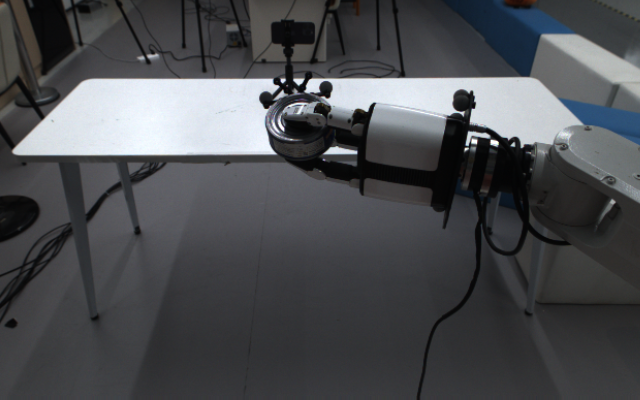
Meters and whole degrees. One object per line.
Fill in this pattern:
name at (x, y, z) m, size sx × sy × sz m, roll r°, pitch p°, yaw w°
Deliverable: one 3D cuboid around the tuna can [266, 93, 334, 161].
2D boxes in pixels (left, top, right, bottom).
tuna can at (-0.020, -0.087, 0.600) m, size 0.085 × 0.034 × 0.085 m, roll -3°, pitch 58°, yaw 5°
